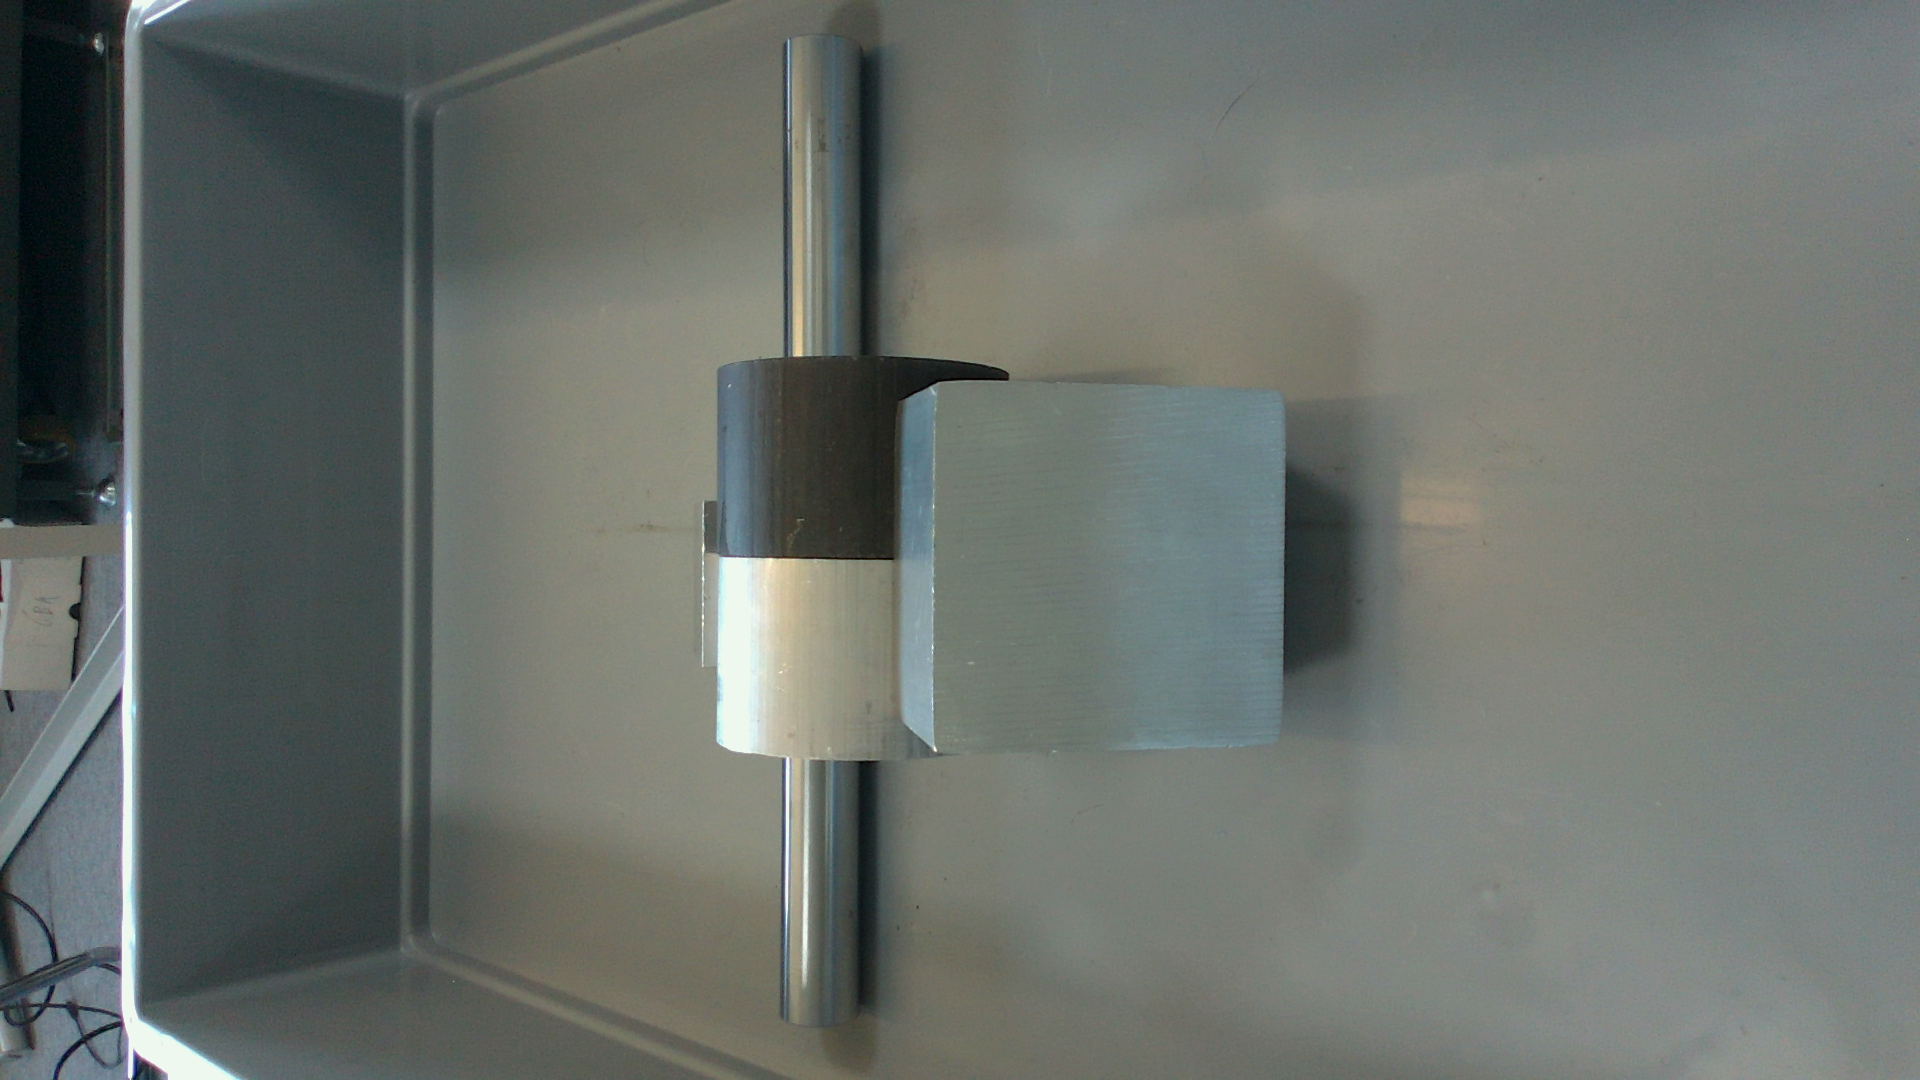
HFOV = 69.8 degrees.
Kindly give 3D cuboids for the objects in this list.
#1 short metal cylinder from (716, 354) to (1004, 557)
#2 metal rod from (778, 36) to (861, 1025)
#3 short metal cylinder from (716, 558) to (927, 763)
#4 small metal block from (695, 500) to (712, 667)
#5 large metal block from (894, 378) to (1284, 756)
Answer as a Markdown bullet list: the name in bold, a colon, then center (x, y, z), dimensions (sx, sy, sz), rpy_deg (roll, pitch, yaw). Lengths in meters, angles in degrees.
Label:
- **short metal cylinder**: center (-0.027, -0.021, 0.379), dimensions (0.080, 0.080, 0.050), rpy_deg (1, 90, 40)
- **metal rod**: center (-0.044, -0.003, 0.429), dimensions (0.025, 0.025, 0.300), rpy_deg (0, 90, 40)
- **short metal cylinder**: center (-0.027, 0.030, 0.379), dimensions (0.080, 0.080, 0.050), rpy_deg (1, 90, 40)
- **small metal block**: center (-0.071, 0.013, 0.438), dimensions (0.050, 0.025, 0.050), rpy_deg (180, 91, -75)
- **large metal block**: center (0.028, 0.005, 0.324), dimensions (0.050, 0.080, 0.080), rpy_deg (-176, 86, -78)
